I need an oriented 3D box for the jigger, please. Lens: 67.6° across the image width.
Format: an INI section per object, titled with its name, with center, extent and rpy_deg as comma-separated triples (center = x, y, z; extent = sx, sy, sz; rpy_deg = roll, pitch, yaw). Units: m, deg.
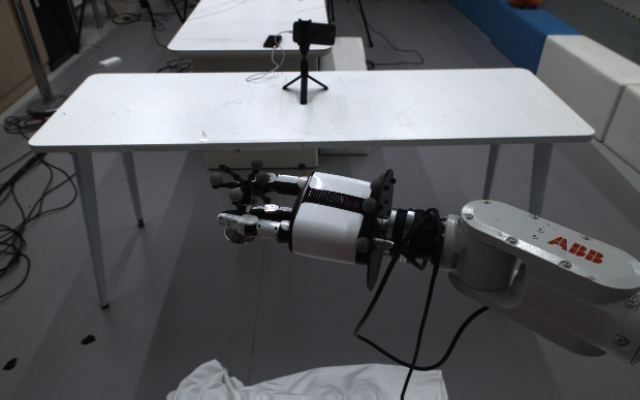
[jigger]
center = -0.106, 0.020, 0.662
extent = 0.043, 0.071, 0.043
rpy_deg = 10, 36, -7
